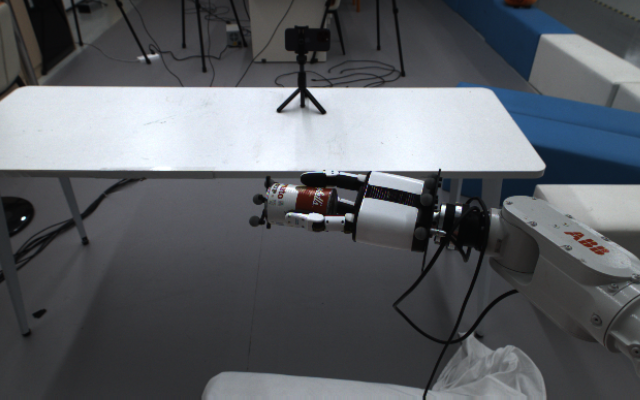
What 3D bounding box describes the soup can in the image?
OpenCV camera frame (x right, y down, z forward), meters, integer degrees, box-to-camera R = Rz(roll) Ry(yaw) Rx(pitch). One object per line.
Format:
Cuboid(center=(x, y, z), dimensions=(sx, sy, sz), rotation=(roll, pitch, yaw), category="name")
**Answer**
Cuboid(center=(-0.027, 0.011, 0.761), dimensions=(0.101, 0.067, 0.067), rotation=(5, 35, 13), category="soup can")
